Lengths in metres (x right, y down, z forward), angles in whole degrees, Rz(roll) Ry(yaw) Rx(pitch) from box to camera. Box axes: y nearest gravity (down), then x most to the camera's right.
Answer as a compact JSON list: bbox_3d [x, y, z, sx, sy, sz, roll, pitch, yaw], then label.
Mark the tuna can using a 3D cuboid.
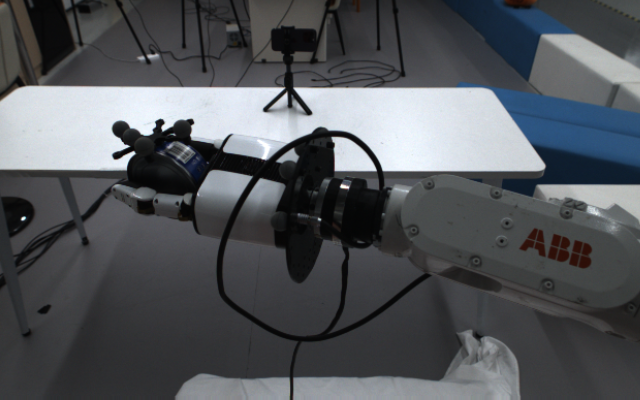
[{"bbox_3d":[-0.156,-0.023,0.517,0.085,0.085,0.034,14,40,16],"label":"tuna can"}]
